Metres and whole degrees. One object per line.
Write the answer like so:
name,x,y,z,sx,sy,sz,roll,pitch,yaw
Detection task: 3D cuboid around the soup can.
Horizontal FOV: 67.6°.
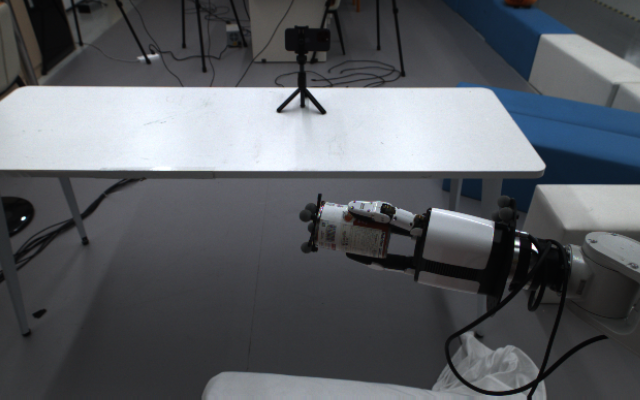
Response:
soup can,0.051,0.042,0.685,0.101,0.067,0.067,9,35,9
